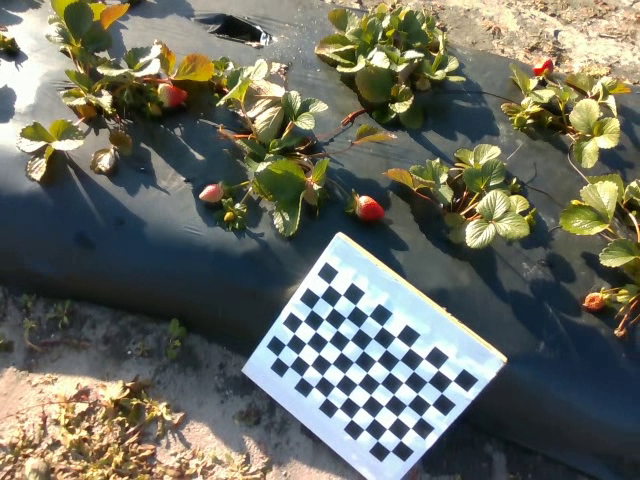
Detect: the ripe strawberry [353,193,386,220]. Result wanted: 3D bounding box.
[{"bbox_3d":[0.083,-0.051,0.961,0.064,0.044,0.043,20,15,13],"label":"ripe strawberry"}]
